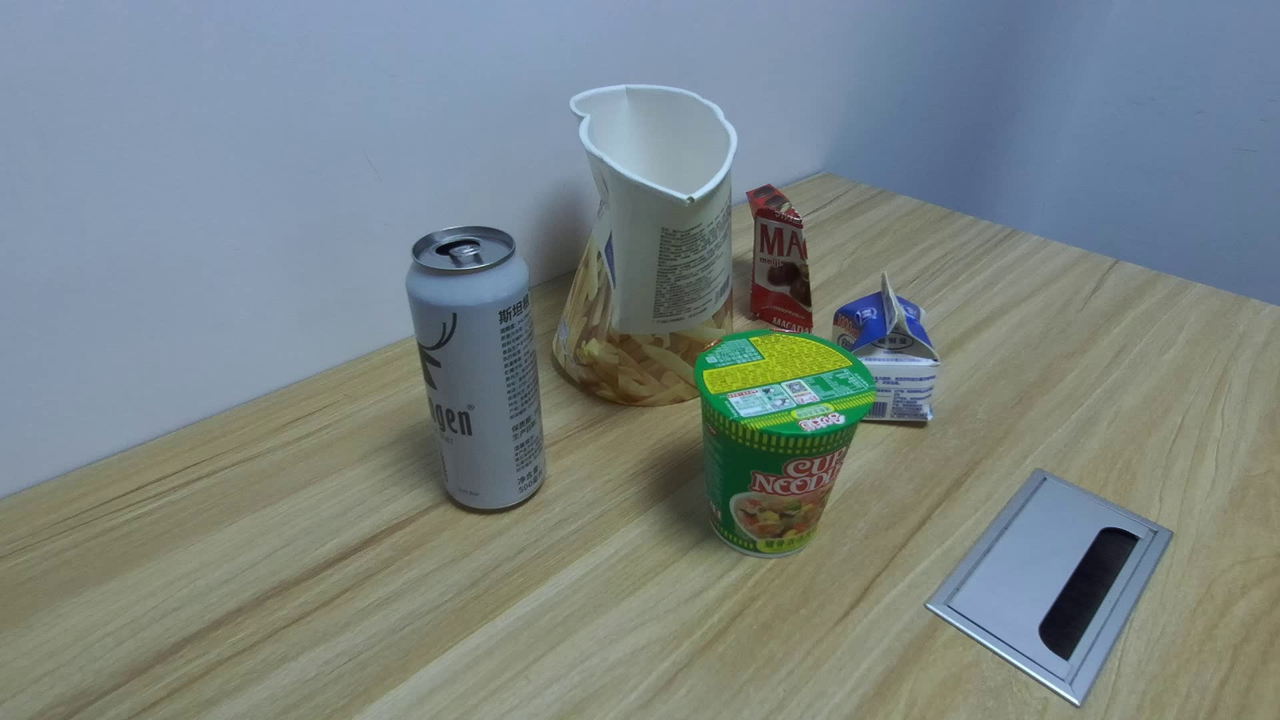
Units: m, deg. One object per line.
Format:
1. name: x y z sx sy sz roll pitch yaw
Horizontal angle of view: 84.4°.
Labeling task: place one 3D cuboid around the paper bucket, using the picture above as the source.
1. paper bucket: 0.006 -0.084 0.532 0.148 0.199 0.217 -24 41 -32

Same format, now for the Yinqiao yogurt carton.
1. Yinqiao yogurt carton: 0.181 -0.010 0.525 0.071 0.094 0.077 0 34 10

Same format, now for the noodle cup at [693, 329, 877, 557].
1. noodle cup: 0.079 0.053 0.412 0.097 0.110 0.097 0 35 1

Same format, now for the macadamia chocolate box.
1. macadamia chocolate box: 0.125 -0.099 0.634 0.056 0.112 0.126 0 33 3

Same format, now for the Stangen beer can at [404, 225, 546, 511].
1. Stangen beer can: -0.094 0.009 0.423 0.067 0.171 0.067 1 33 0
